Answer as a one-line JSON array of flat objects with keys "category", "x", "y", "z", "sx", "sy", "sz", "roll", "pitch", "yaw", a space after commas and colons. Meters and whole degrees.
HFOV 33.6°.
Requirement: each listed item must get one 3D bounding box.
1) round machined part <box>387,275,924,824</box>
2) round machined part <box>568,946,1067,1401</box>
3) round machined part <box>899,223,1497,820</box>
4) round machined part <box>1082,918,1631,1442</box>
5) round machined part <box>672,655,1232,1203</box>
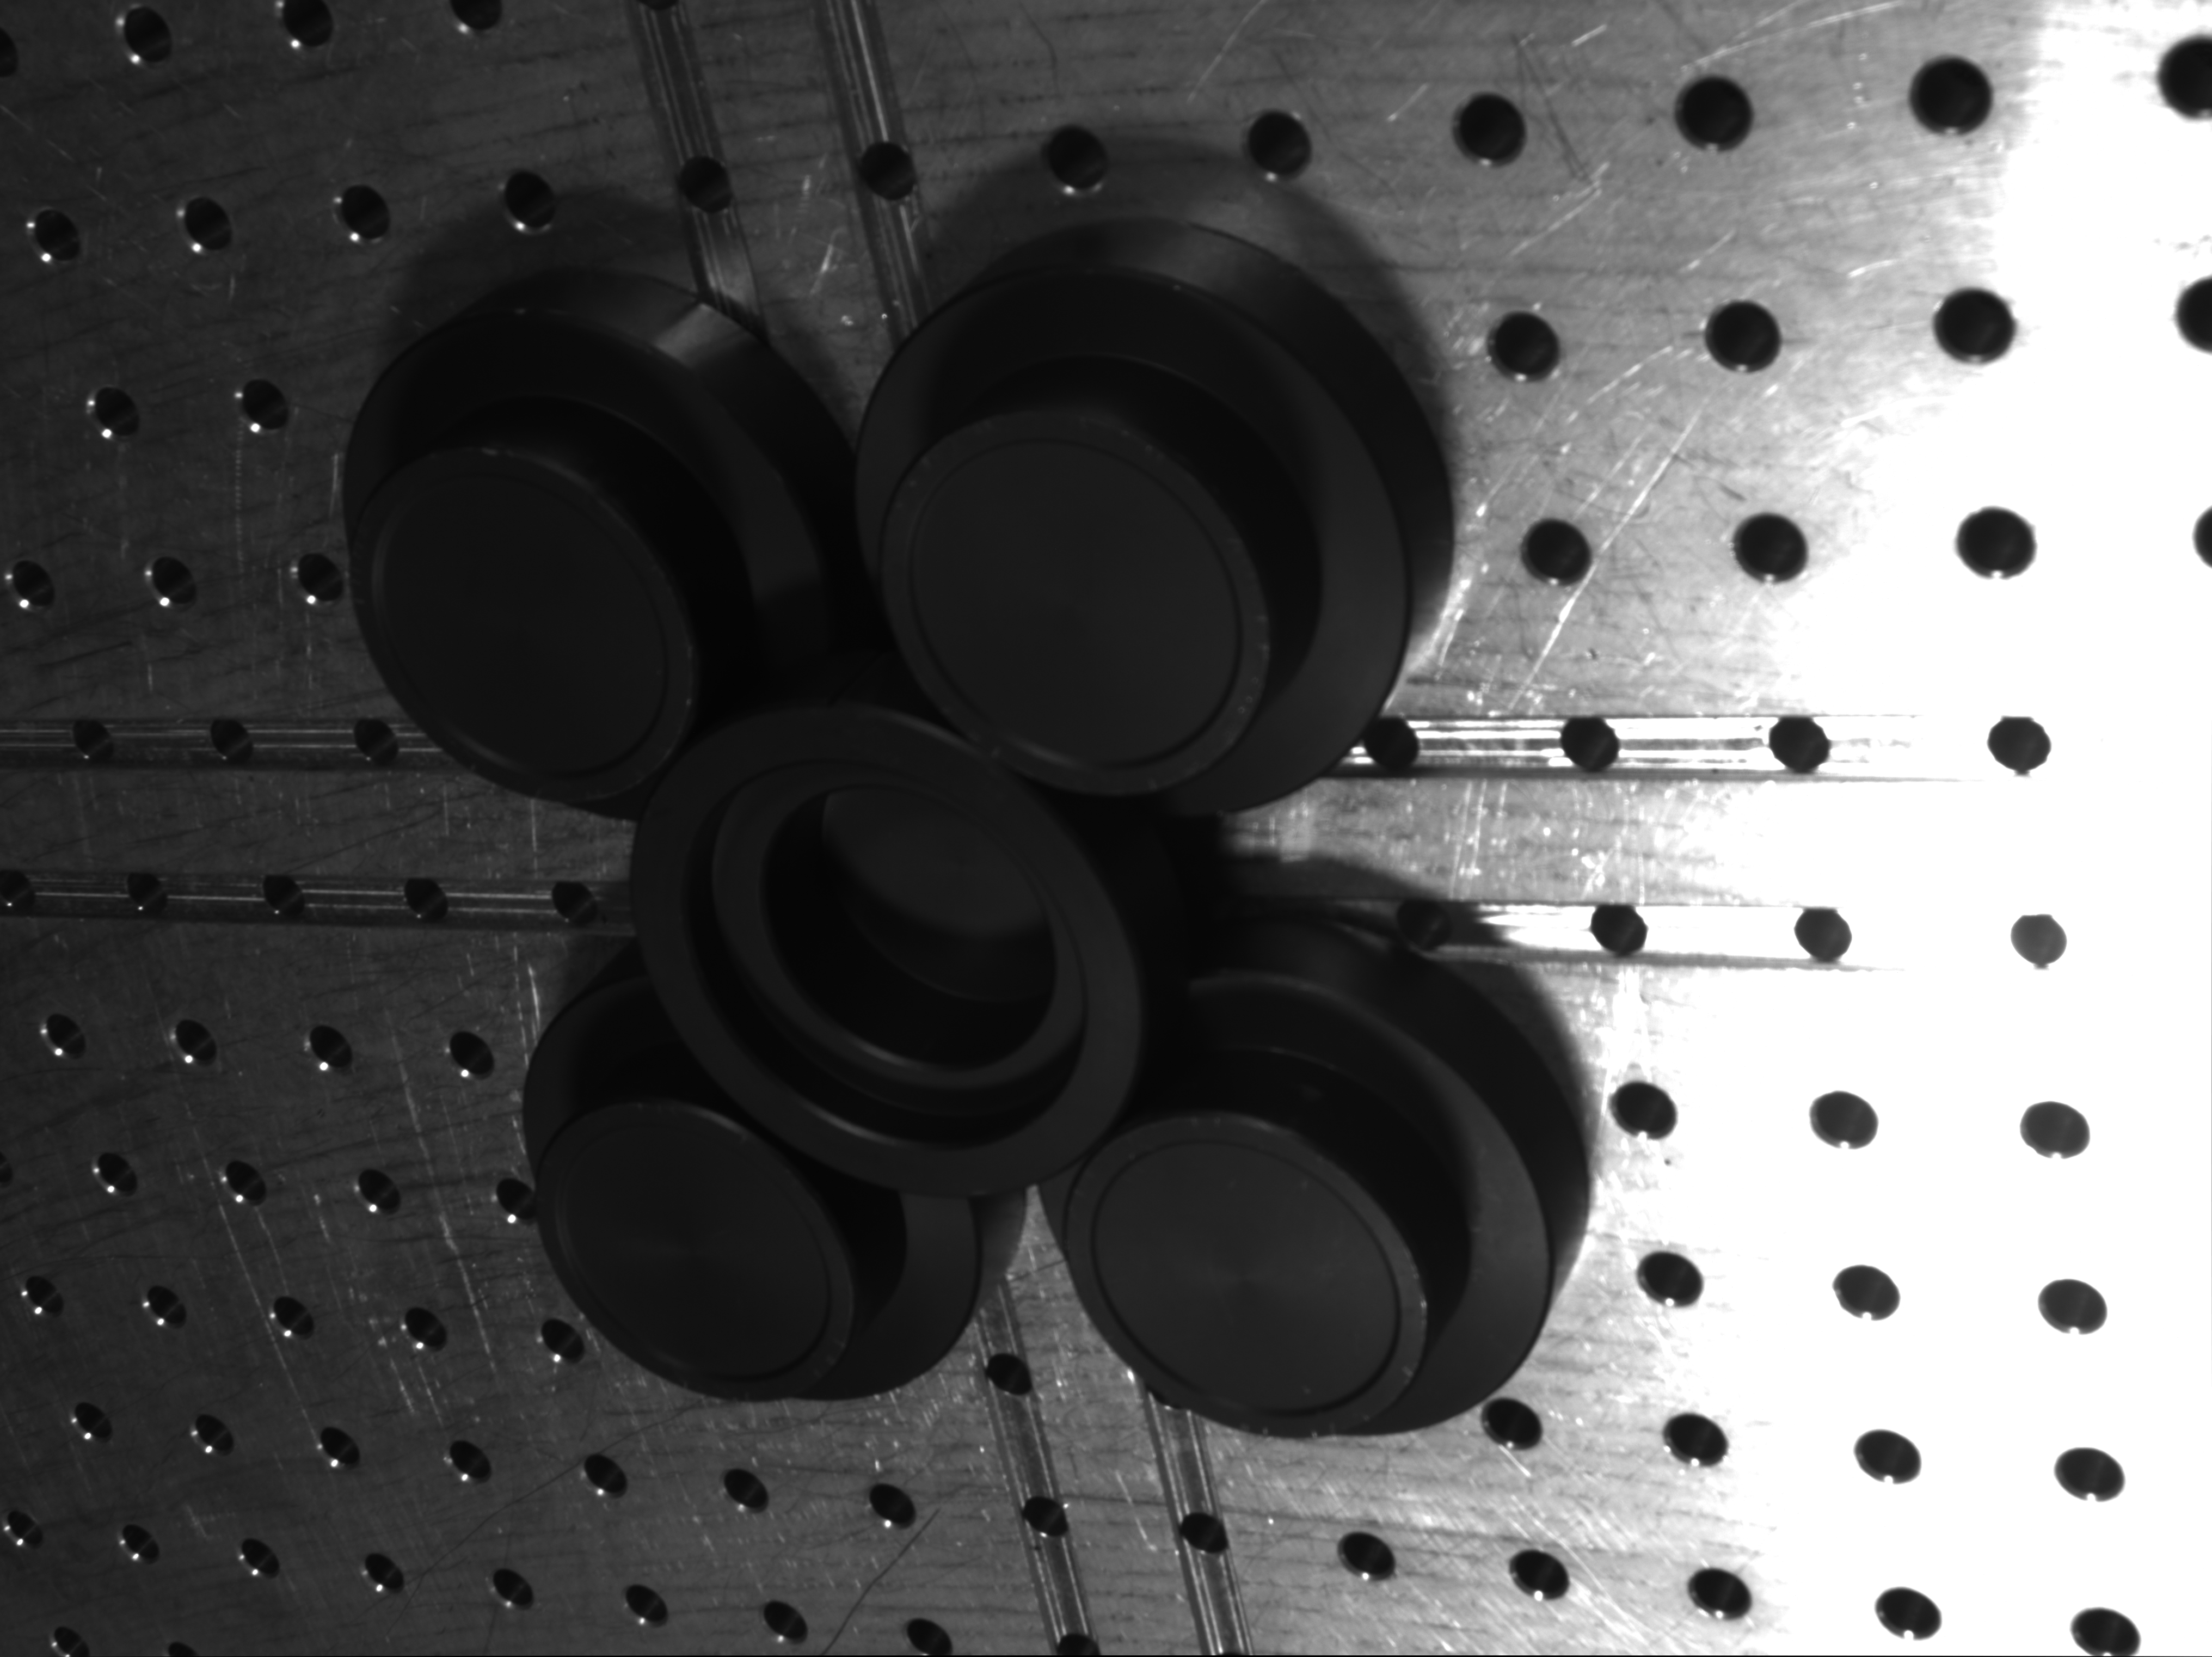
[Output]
[{"category": "round machined part", "x": -0.084, "y": -0.043, "z": 0.639, "sx": 0.098, "sy": 0.042, "sz": 0.098, "roll": 12, "pitch": 123, "yaw": 20}, {"category": "round machined part", "x": -0.060, "y": 0.069, "z": 0.695, "sx": 0.098, "sy": 0.042, "sz": 0.098, "roll": 12, "pitch": 123, "yaw": 20}, {"category": "round machined part", "x": 0.010, "y": -0.044, "z": 0.591, "sx": 0.098, "sy": 0.042, "sz": 0.098, "roll": 12, "pitch": 123, "yaw": 20}, {"category": "round machined part", "x": 0.039, "y": 0.068, "z": 0.644, "sx": 0.098, "sy": 0.042, "sz": 0.098, "roll": 12, "pitch": 123, "yaw": 20}, {"category": "round machined part", "x": -0.023, "y": 0.013, "z": 0.641, "sx": 0.098, "sy": 0.042, "sz": 0.098, "roll": 12, "pitch": 123, "yaw": 20}]
